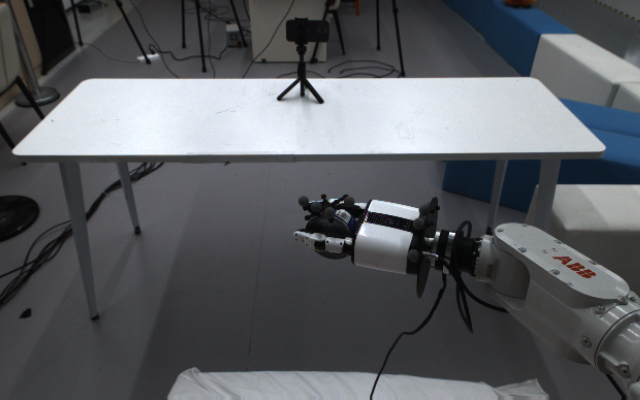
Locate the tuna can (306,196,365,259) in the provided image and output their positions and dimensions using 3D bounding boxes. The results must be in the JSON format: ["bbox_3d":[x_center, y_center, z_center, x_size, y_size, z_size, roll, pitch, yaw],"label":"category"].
[{"bbox_3d":[0.023,0.054,0.795,0.085,0.085,0.034,14,34,17],"label":"tuna can"}]
